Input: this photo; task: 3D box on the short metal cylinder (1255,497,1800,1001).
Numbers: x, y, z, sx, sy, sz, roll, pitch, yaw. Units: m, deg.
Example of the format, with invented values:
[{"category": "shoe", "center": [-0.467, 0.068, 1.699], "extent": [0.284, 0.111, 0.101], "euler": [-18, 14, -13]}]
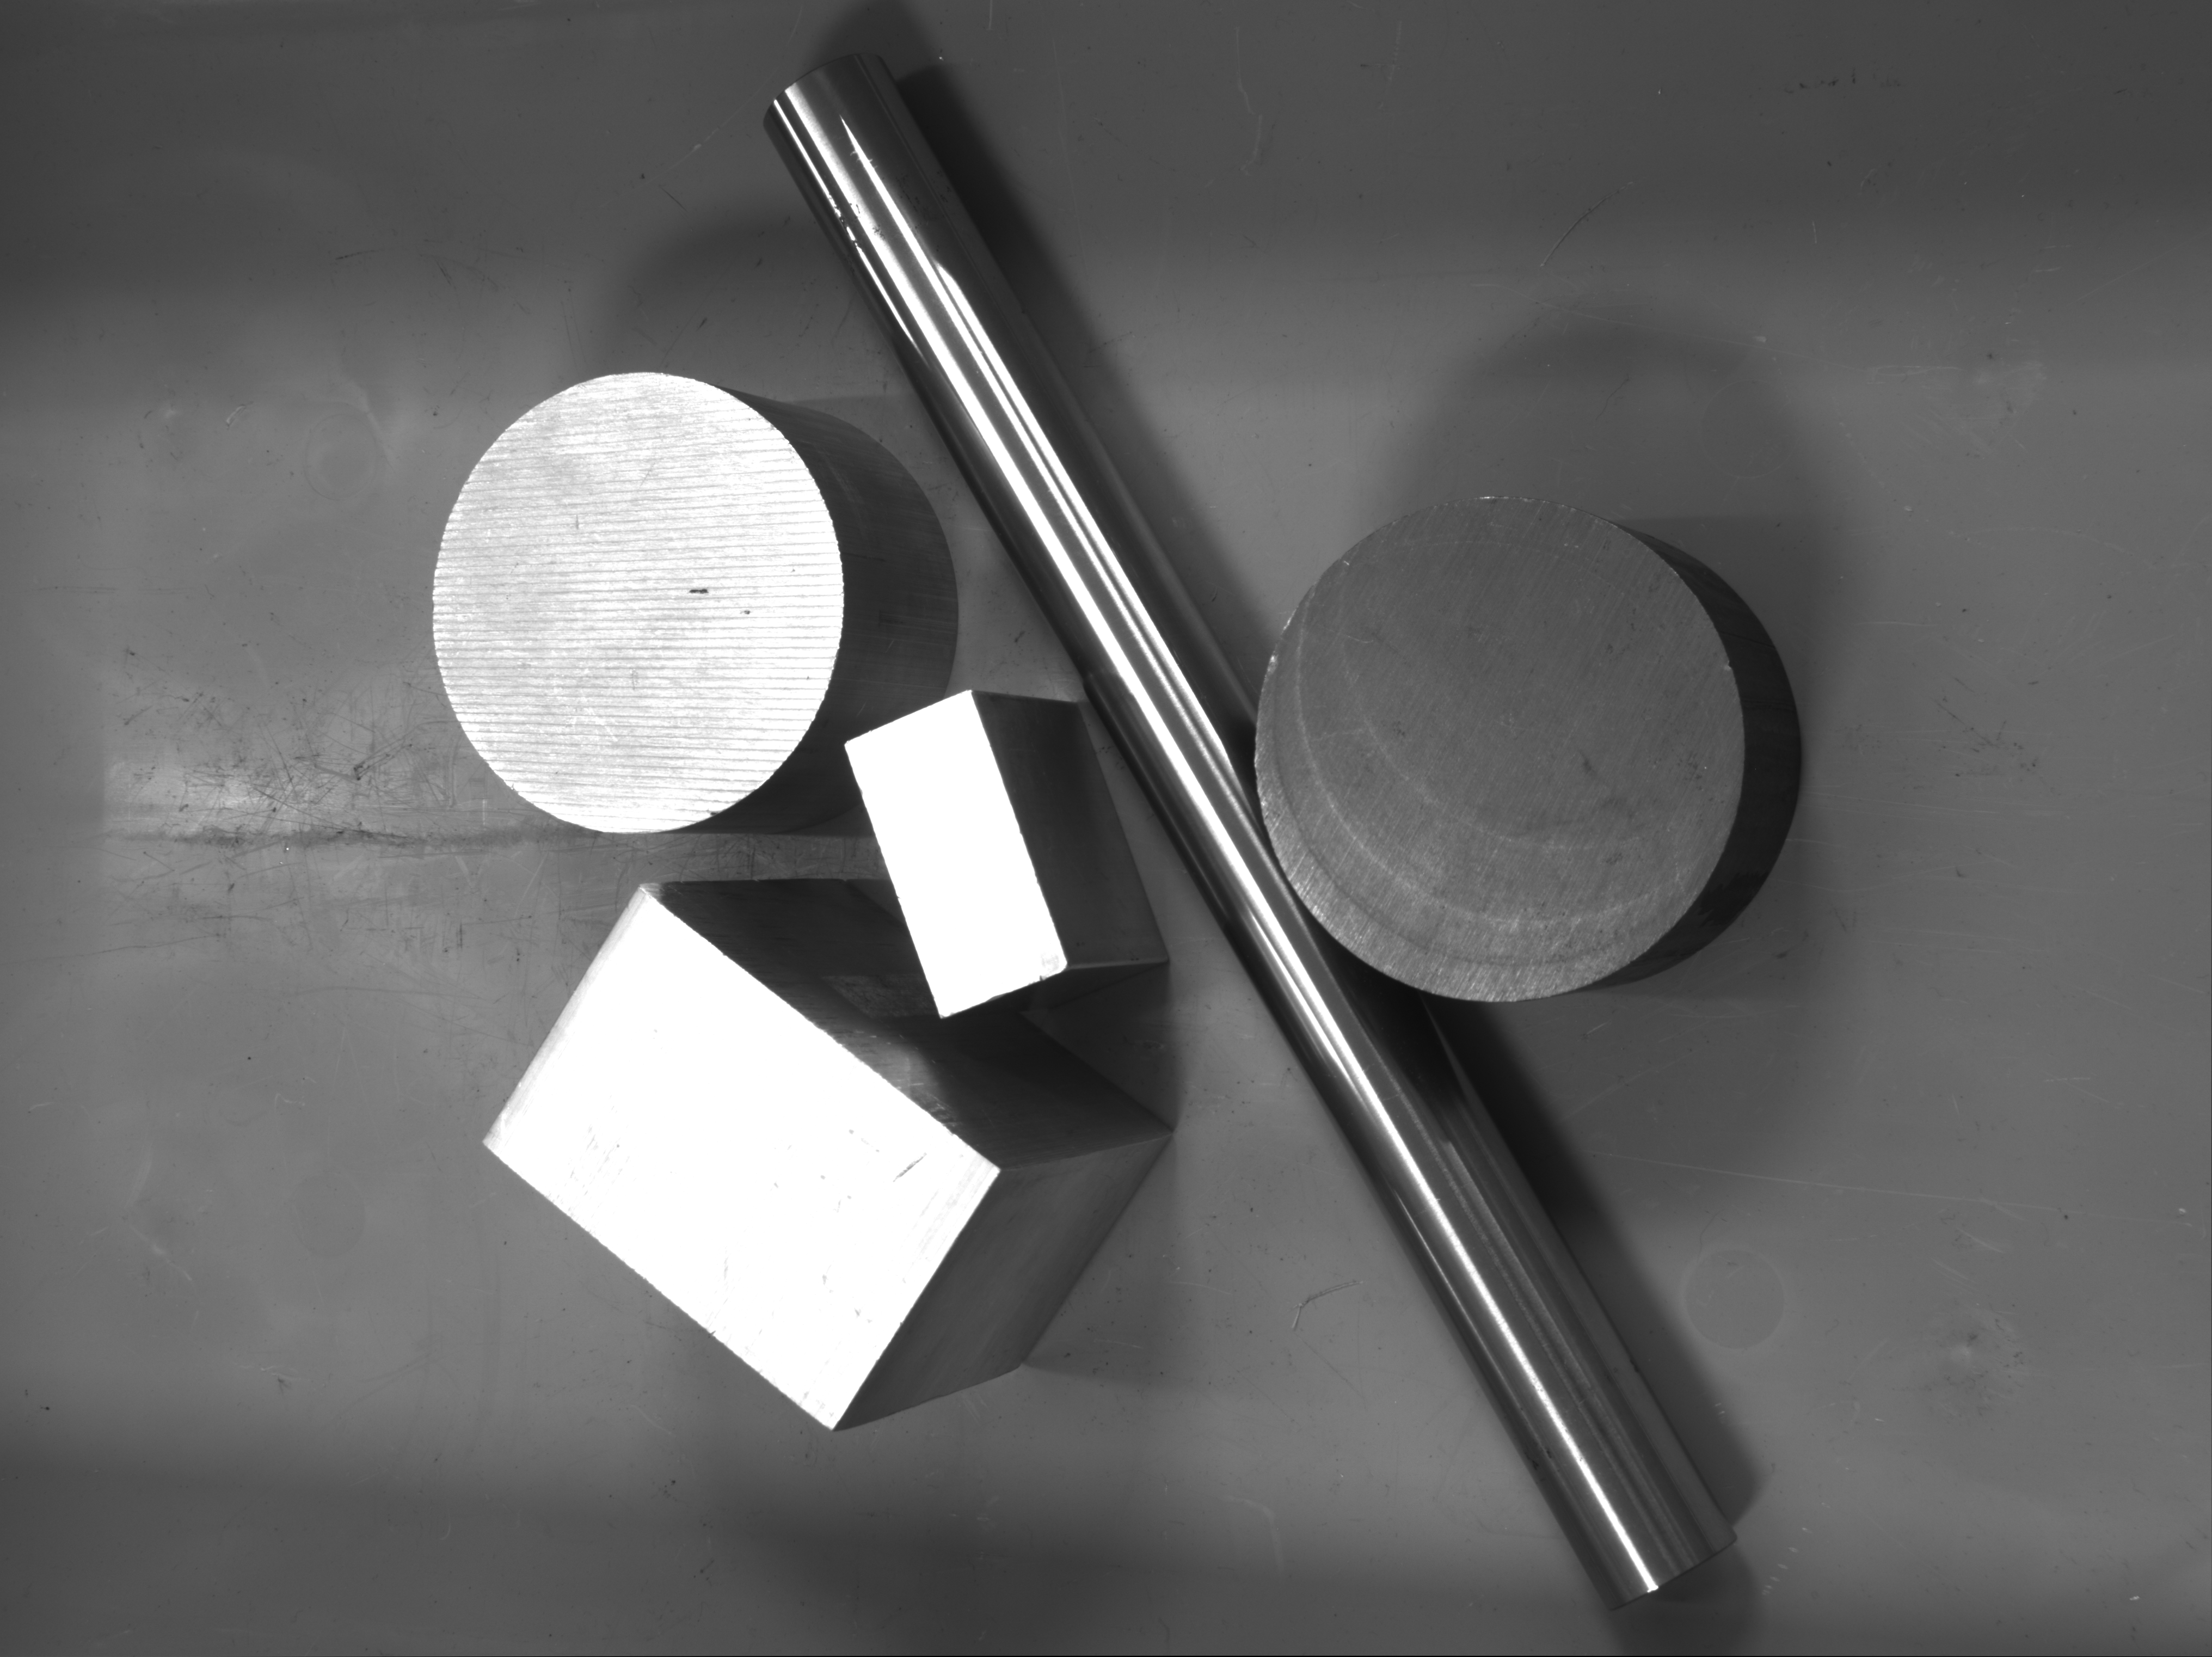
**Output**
[{"category": "short metal cylinder", "center": [0.070, -0.012, 0.607], "extent": [0.080, 0.050, 0.080], "euler": [0, 90, 20]}]

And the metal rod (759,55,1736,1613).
[{"category": "metal rod", "center": [0.021, -0.004, 0.638], "extent": [0.025, 0.025, 0.300], "euler": [-33, 79, 17]}]

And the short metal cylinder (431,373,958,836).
[{"category": "short metal cylinder", "center": [-0.073, -0.039, 0.659], "extent": [0.080, 0.050, 0.080], "euler": [0, 90, 20]}]

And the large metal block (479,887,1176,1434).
[{"category": "large metal block", "center": [-0.046, 0.054, 0.632], "extent": [0.080, 0.080, 0.050], "euler": [36, 102, 17]}]

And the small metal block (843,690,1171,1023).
[{"category": "small metal block", "center": [-0.016, 0.005, 0.638], "extent": [0.025, 0.050, 0.050], "euler": [-22, 82, 19]}]
